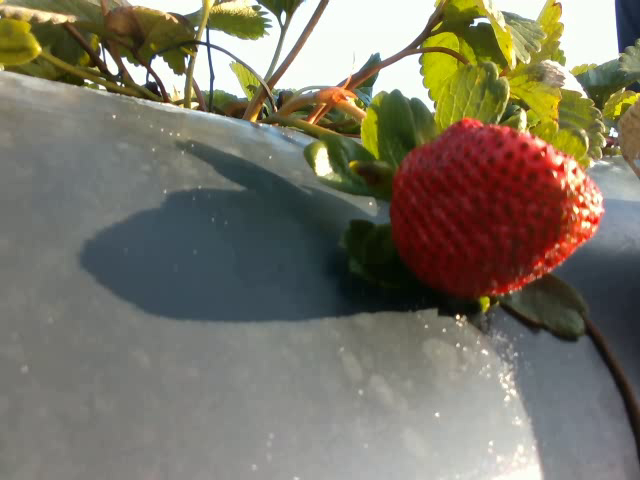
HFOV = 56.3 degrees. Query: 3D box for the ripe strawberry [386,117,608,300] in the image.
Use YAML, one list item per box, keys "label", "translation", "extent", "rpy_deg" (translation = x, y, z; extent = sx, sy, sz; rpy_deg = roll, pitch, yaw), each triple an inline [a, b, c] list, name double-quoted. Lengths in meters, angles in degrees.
- label: "ripe strawberry"
  translation: [0.012, -0.003, 0.042]
  extent: [0.015, 0.015, 0.022]
  rpy_deg: [14, -8, -12]
